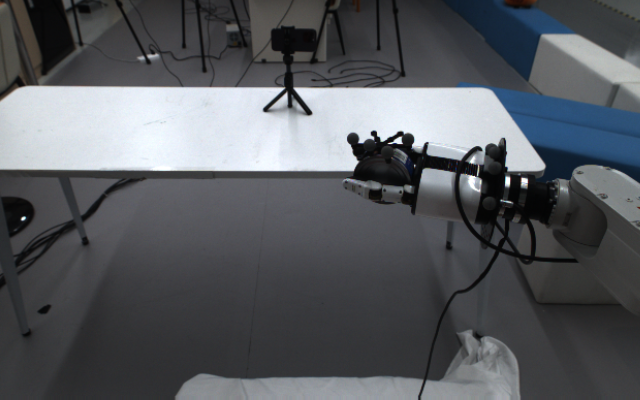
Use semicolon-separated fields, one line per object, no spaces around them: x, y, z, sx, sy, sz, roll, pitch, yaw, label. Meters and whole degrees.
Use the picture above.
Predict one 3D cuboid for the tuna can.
0.095;-0.039;0.710;0.085;0.085;0.034;14;41;16;tuna can
